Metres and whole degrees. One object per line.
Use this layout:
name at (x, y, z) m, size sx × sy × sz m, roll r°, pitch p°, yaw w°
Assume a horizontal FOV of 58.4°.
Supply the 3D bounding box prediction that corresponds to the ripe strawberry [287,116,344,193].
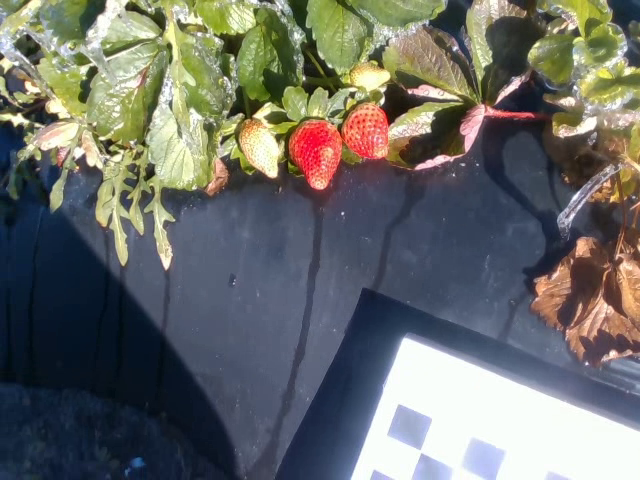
ripe strawberry at (-0.001, -0.049, 0.362) m, size 0.036 × 0.052 × 0.040 m, roll -20°, pitch -38°, yaw 16°

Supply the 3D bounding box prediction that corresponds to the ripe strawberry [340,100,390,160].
ripe strawberry at (0.033, -0.069, 0.369) m, size 0.036 × 0.041 × 0.030 m, roll -45°, pitch -13°, yaw 15°
